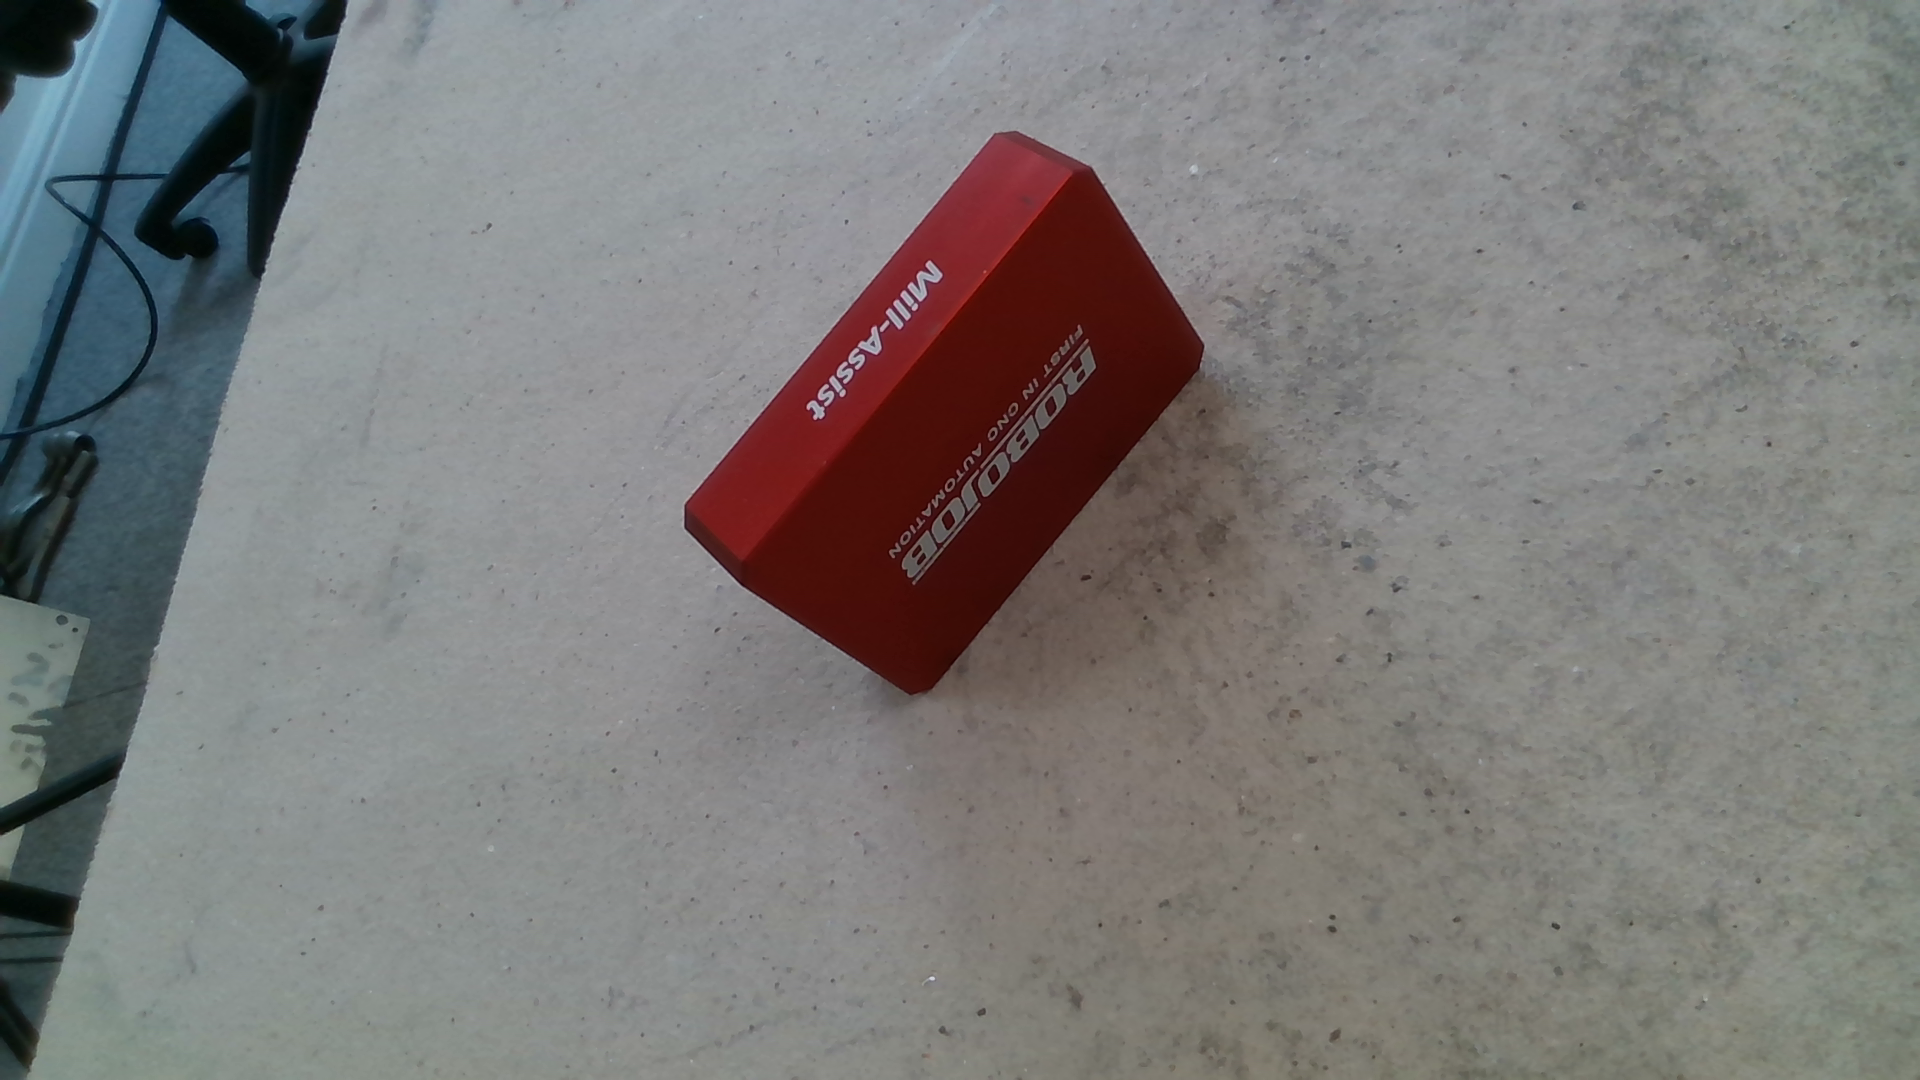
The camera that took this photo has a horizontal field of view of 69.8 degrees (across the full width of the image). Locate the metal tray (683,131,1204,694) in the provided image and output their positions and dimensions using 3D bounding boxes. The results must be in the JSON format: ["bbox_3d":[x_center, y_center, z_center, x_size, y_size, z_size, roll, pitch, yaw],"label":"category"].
[{"bbox_3d":[0.000,-0.030,0.366,0.130,0.090,0.030,-50,51,0],"label":"metal tray"}]
